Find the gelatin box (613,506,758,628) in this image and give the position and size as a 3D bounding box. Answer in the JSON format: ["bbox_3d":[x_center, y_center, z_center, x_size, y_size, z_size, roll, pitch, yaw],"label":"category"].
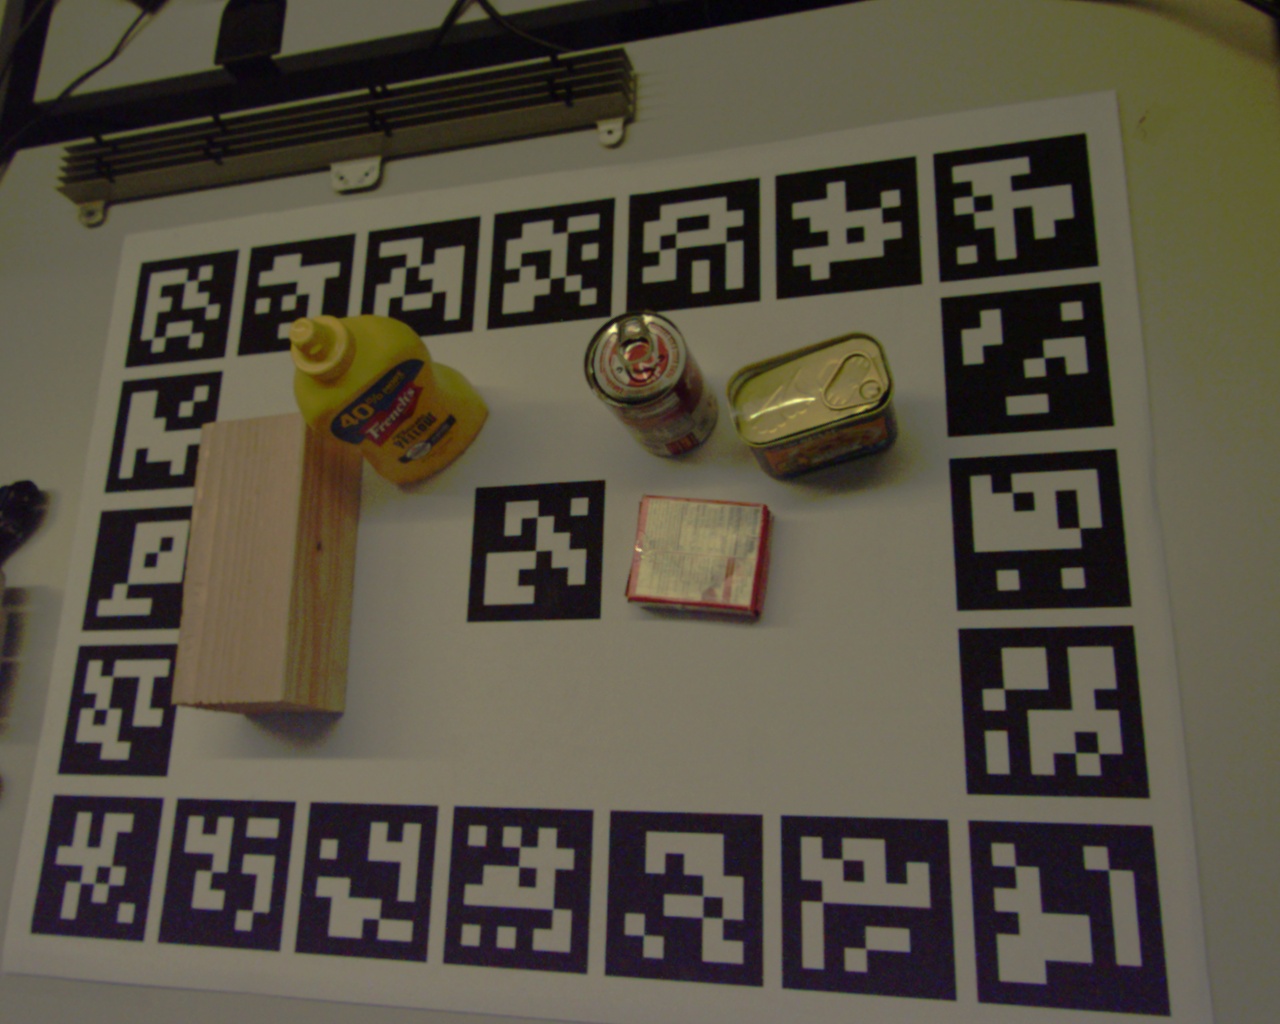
[{"bbox_3d":[0.032,0.038,0.796,0.090,0.030,0.073,6,79,21],"label":"gelatin box"}]

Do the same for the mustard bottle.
[{"bbox_3d":[-0.193,-0.073,0.822,0.096,0.190,0.059,-28,68,6],"label":"mustard bottle"}]

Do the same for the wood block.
[{"bbox_3d":[-0.276,0.047,0.864,0.091,0.089,0.206,-3,70,15],"label":"wood block"}]

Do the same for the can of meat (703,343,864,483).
[{"bbox_3d":[0.101,-0.064,0.779,0.102,0.083,0.058,-17,71,9],"label":"can of meat"}]

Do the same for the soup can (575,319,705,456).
[{"bbox_3d":[0.003,-0.084,0.797,0.068,0.101,0.068,-4,75,16],"label":"soup can"}]
